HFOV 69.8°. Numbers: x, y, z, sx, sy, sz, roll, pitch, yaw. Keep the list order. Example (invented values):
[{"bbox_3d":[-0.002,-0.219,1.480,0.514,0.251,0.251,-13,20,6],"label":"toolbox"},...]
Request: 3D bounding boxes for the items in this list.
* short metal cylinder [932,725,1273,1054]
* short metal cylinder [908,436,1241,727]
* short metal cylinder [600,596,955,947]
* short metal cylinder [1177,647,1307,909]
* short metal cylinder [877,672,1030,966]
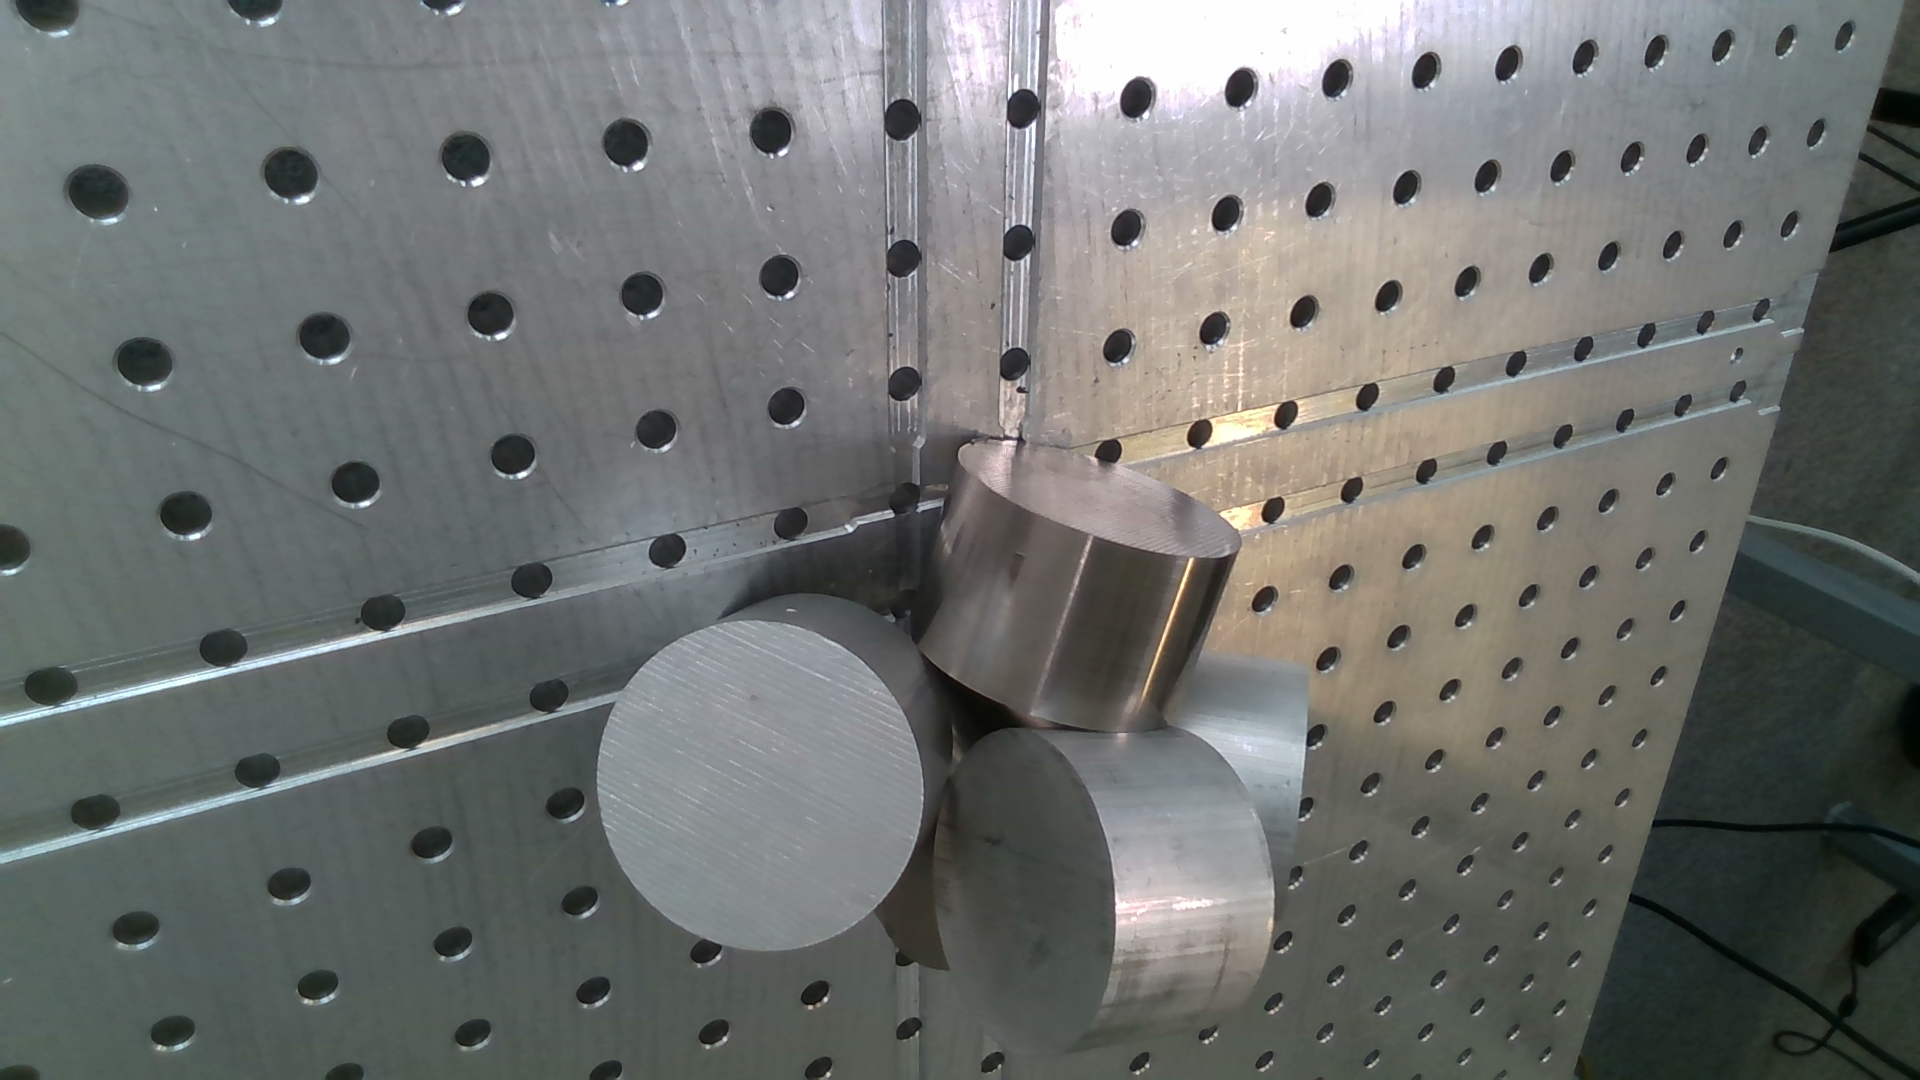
[{"bbox_3d":[0.035,0.089,0.361,0.050,0.080,0.080,3,113,-33],"label":"short metal cylinder"},{"bbox_3d":[0.031,0.009,0.381,0.080,0.080,0.050,5,112,-33],"label":"short metal cylinder"},{"bbox_3d":[-0.044,0.056,0.353,0.080,0.050,0.080,1,95,8],"label":"short metal cylinder"},{"bbox_3d":[0.079,0.074,0.437,0.050,0.080,0.080,7,118,9],"label":"short metal cylinder"},{"bbox_3d":[0.001,0.081,0.420,0.080,0.050,0.080,-15,121,-26],"label":"short metal cylinder"}]
